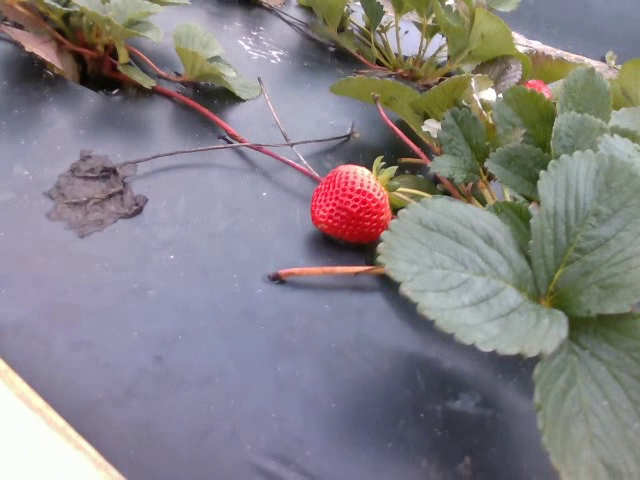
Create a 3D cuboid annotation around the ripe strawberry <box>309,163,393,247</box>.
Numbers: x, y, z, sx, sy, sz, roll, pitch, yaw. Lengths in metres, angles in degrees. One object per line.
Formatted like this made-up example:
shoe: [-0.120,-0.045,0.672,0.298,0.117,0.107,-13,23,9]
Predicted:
ripe strawberry: [0.016,-0.028,0.403,0.065,0.061,0.050,-39,-17,-12]
